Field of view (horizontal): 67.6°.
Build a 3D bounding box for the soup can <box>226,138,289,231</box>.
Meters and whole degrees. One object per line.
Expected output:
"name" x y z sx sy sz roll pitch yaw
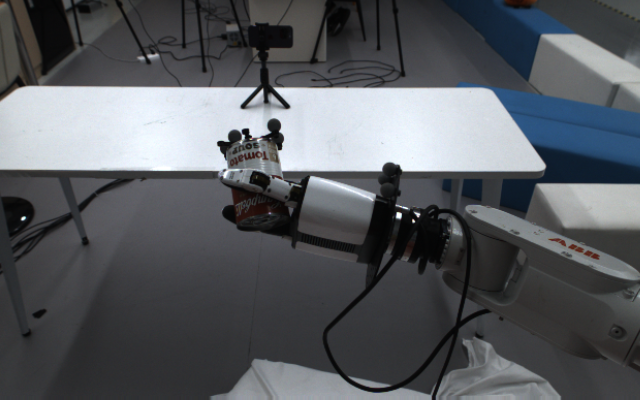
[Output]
"soup can" -0.077 -0.018 0.607 0.067 0.067 0.101 -8 74 -14
